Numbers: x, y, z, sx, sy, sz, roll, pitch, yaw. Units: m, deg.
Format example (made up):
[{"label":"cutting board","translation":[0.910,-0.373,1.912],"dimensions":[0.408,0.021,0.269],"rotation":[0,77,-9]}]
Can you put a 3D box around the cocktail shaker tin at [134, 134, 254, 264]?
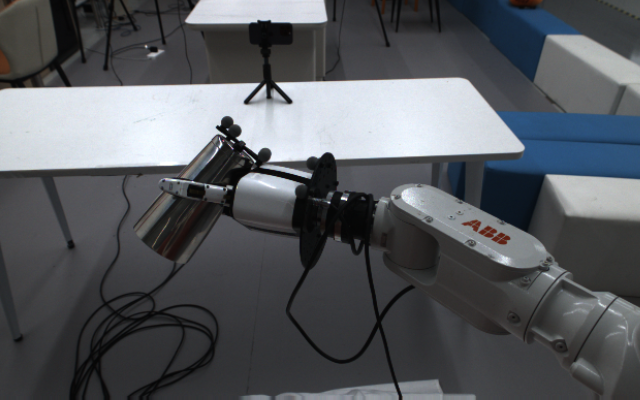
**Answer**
[{"label":"cocktail shaker tin","translation":[-0.169,-0.008,0.679],"dimensions":[0.170,0.093,0.093],"rotation":[-50,46,4]}]
